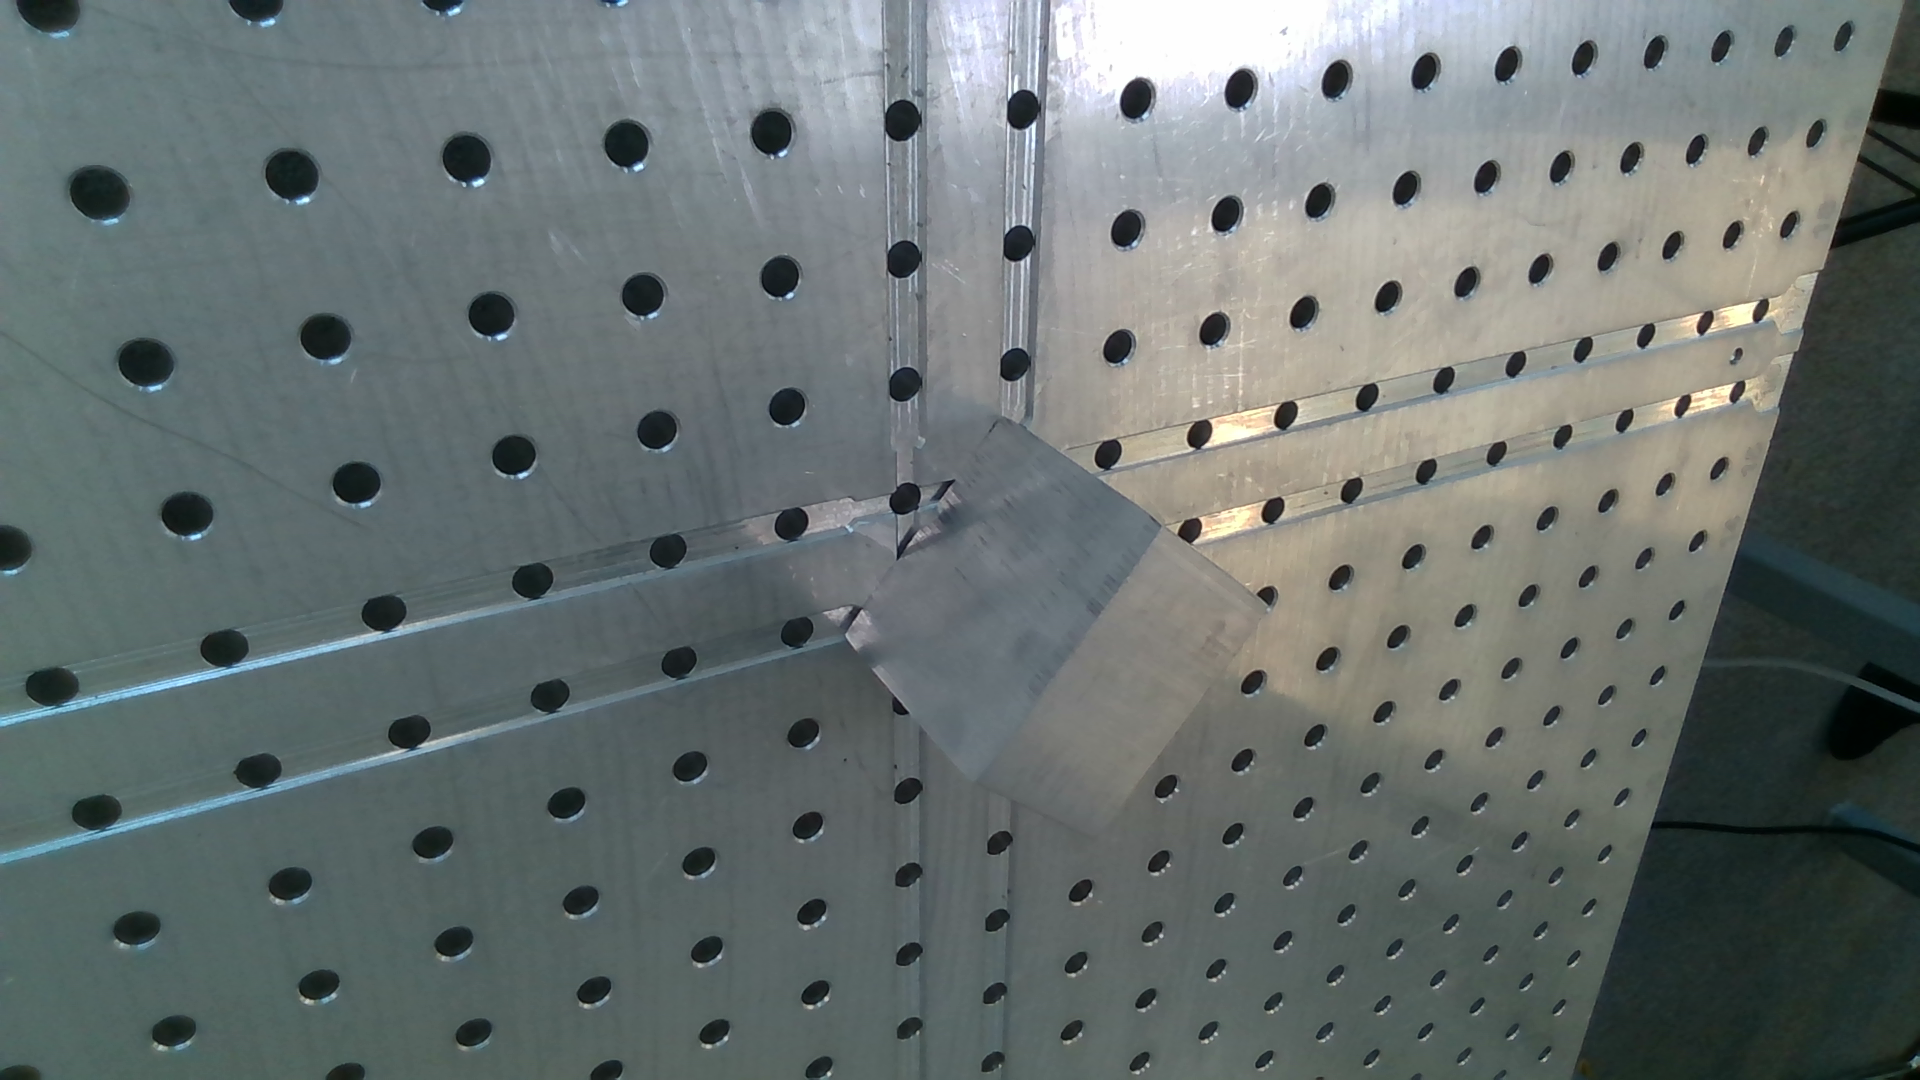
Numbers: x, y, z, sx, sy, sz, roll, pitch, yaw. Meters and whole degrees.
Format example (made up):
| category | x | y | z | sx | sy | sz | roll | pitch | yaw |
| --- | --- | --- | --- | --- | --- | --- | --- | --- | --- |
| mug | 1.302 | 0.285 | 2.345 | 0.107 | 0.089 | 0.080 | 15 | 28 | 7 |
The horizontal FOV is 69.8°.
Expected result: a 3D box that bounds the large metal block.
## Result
| category | x | y | z | sx | sy | sz | roll | pitch | yaw |
| --- | --- | --- | --- | --- | --- | --- | --- | --- | --- |
| large metal block | 0.024 | 0.022 | 0.383 | 0.050 | 0.080 | 0.080 | 32 | 96 | -39 |
